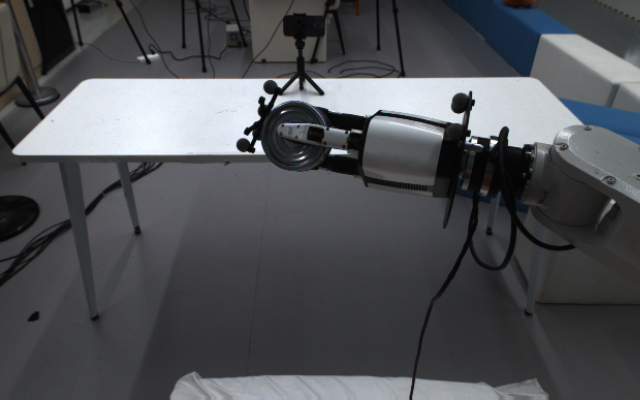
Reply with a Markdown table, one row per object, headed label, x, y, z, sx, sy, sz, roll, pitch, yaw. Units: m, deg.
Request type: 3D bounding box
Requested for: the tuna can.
| label | x | y | z | sx | sy | sz | roll | pitch | yaw |
| --- | --- | --- | --- | --- | --- | --- | --- | --- | --- |
| tuna can | -0.025 | -0.075 | 0.596 | 0.085 | 0.085 | 0.034 | 8 | 5 | 8 |
